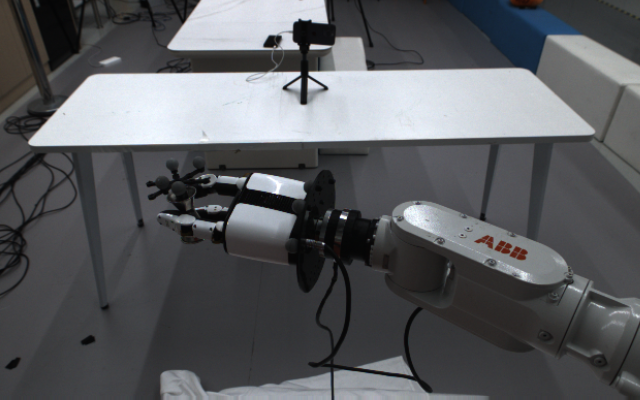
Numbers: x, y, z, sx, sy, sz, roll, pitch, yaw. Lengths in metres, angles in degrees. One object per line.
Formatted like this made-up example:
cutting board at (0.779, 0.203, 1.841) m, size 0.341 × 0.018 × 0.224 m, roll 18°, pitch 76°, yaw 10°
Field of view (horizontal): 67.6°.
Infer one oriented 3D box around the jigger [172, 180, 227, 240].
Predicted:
jigger at (-0.176, 0.018, 0.663) m, size 0.043 × 0.071 × 0.043 m, roll -8°, pitch 31°, yaw 5°
